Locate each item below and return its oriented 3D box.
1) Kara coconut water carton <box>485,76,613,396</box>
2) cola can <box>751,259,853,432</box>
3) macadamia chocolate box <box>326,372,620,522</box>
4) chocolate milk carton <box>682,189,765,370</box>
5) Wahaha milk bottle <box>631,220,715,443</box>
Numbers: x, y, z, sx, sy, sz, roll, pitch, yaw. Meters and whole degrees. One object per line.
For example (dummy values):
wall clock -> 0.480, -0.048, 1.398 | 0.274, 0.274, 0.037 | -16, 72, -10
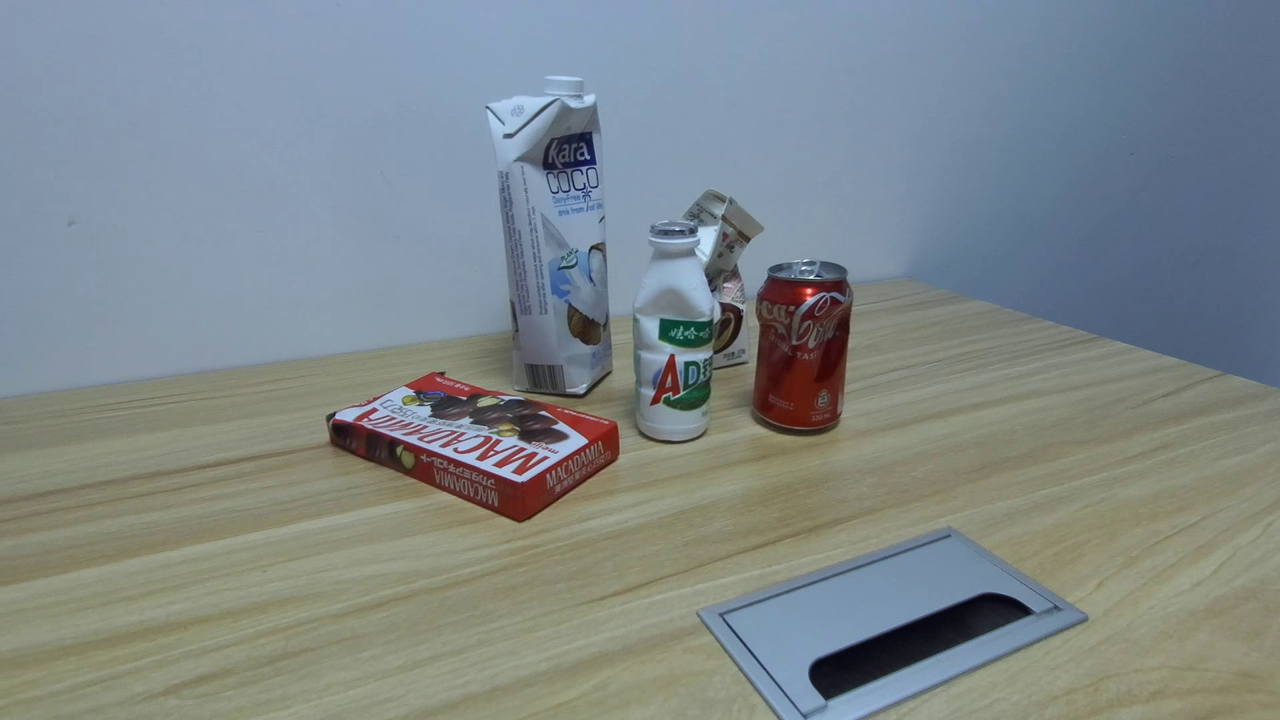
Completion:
Kara coconut water carton -> -0.066, -0.094, 0.555 | 0.069, 0.238, 0.115 | 5, 18, 19
cola can -> 0.115, -0.011, 0.503 | 0.066, 0.117, 0.066 | -12, 23, -28
macadamia chocolate box -> -0.113, 0.049, 0.475 | 0.182, 0.028, 0.106 | 12, 24, 31
chocolate milk carton -> 0.060, -0.068, 0.617 | 0.090, 0.155, 0.076 | 3, 22, -30
Wahaha milk bottle -> 0.022, -0.018, 0.476 | 0.056, 0.147, 0.056 | 2, 21, 0
